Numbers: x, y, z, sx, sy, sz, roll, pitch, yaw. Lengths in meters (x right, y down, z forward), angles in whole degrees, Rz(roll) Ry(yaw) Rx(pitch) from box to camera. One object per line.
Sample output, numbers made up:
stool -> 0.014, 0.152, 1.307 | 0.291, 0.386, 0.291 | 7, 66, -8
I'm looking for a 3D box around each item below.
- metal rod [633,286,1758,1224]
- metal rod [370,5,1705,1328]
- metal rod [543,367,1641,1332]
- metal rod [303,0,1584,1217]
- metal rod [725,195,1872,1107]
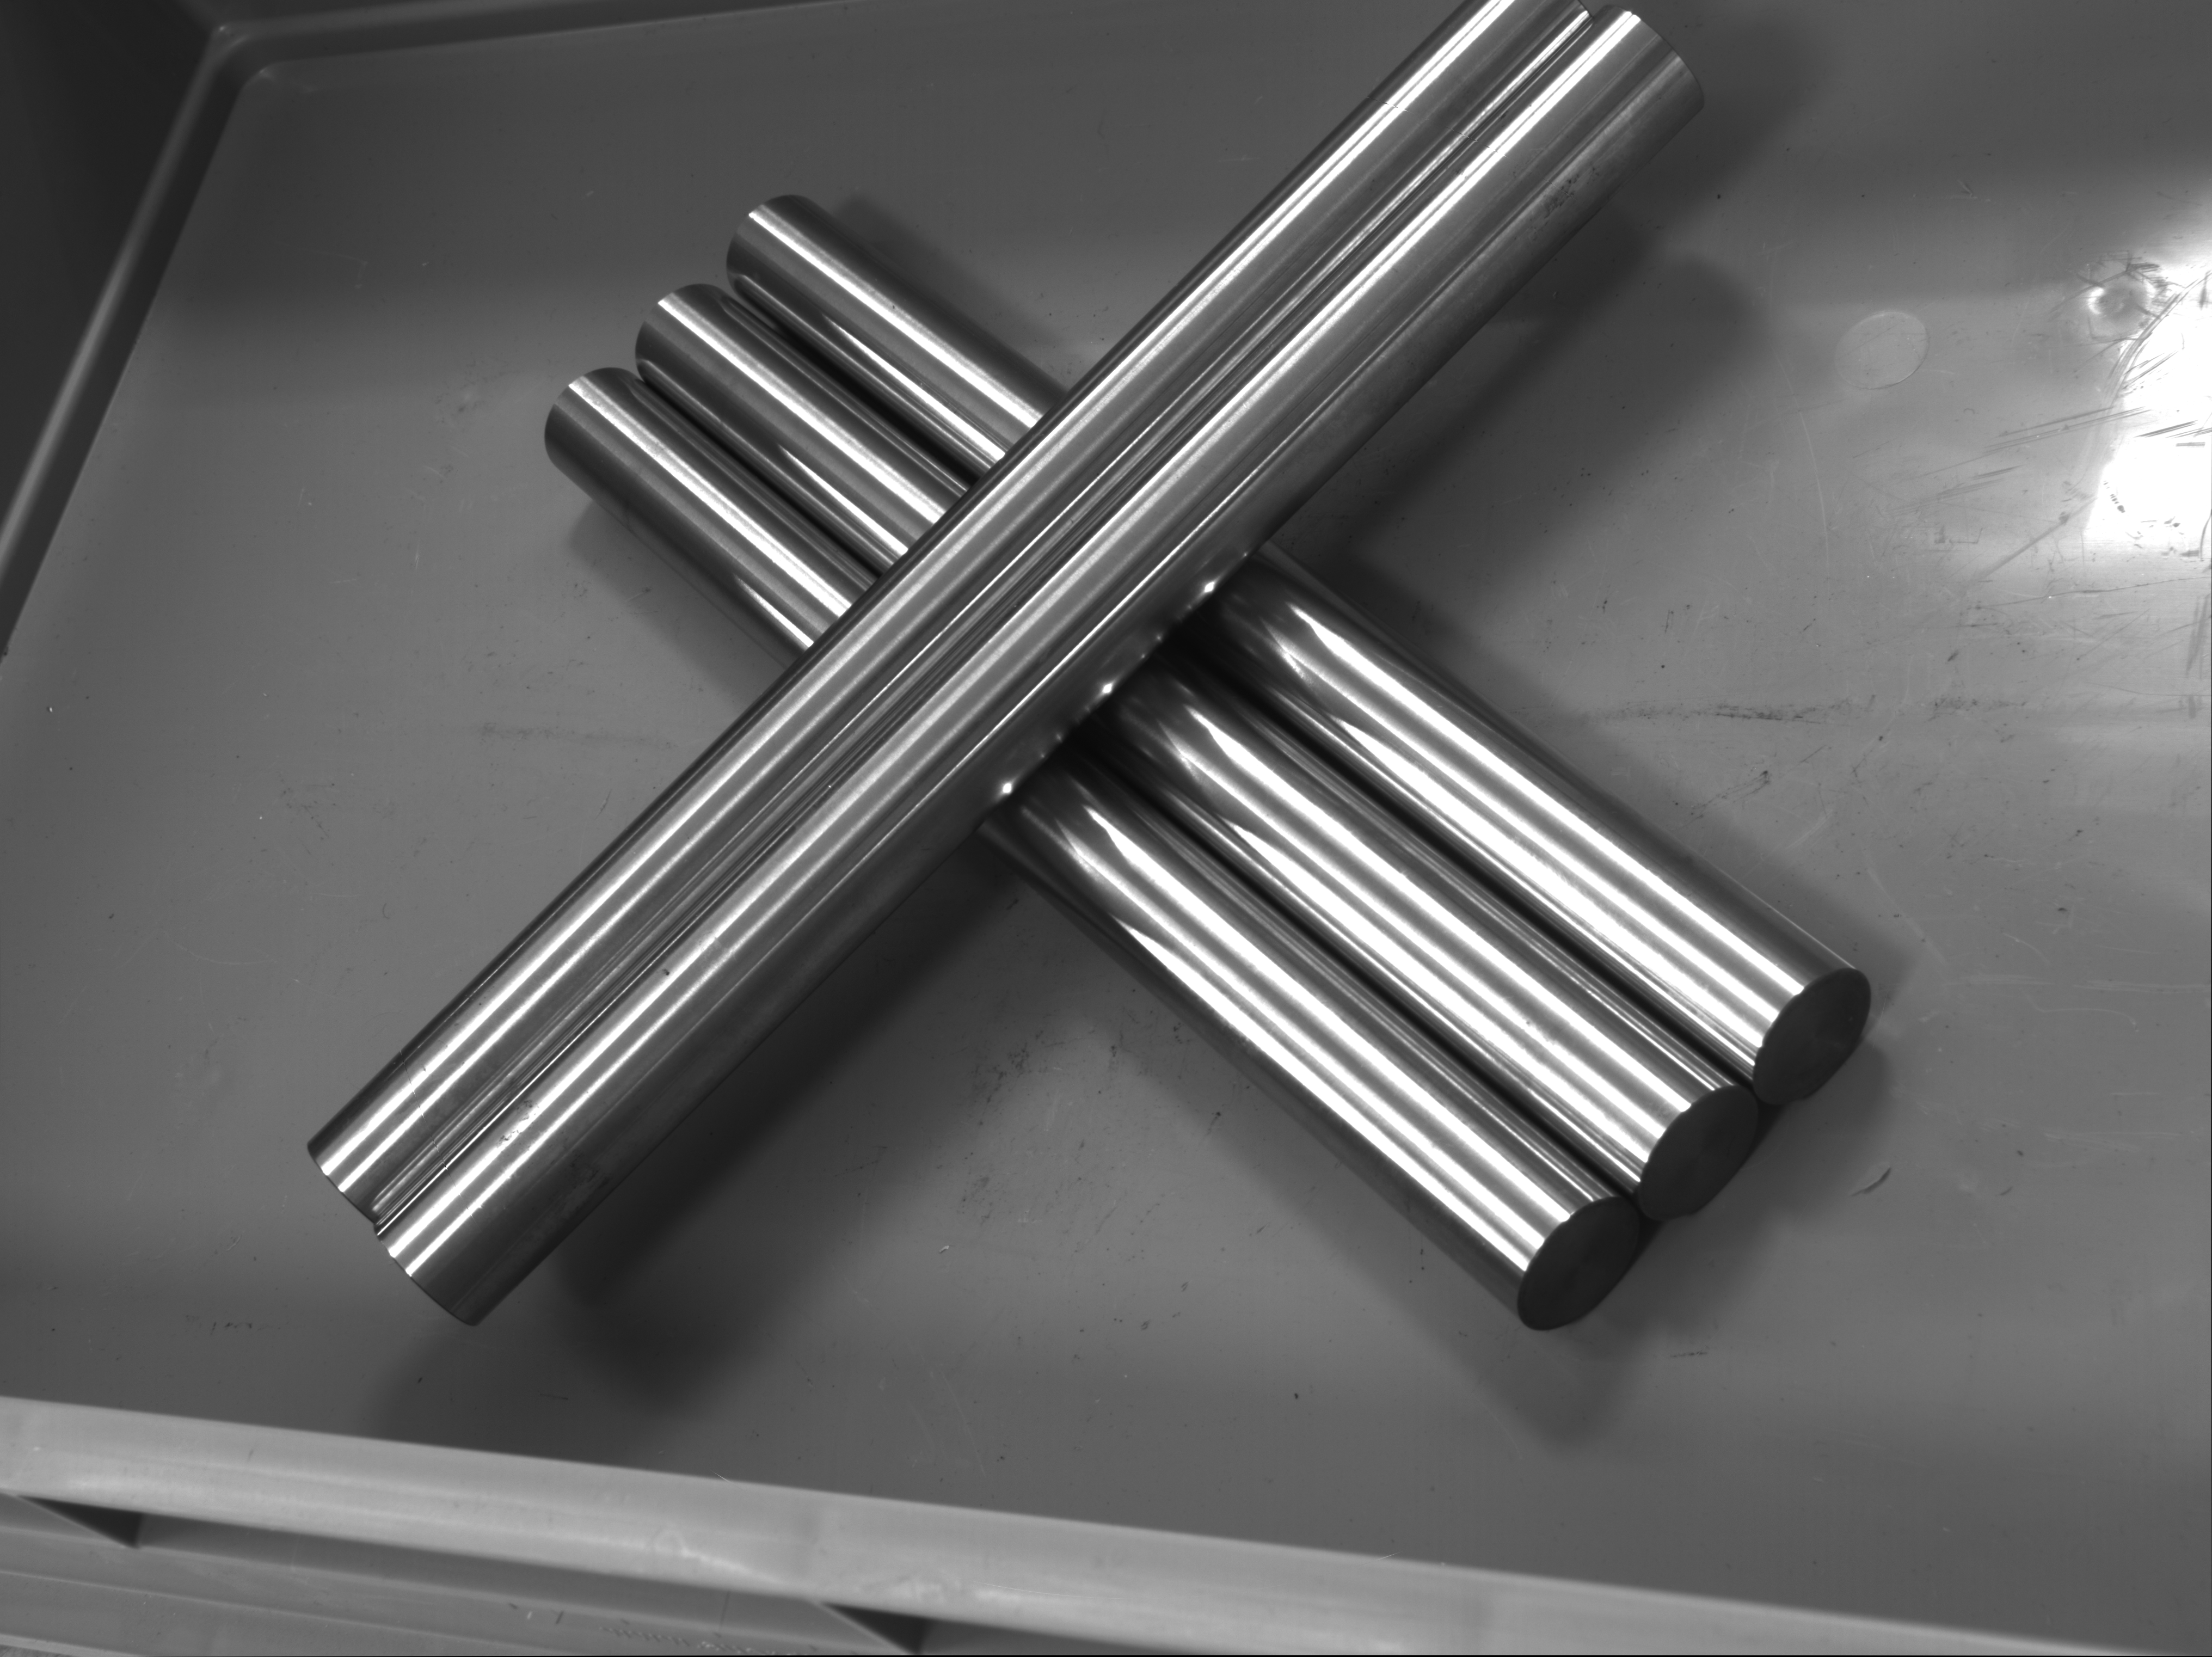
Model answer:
metal rod -> 0.002, -0.025, 0.657 | 0.025, 0.025, 0.299 | -46, 51, -4
metal rod -> -0.010, -0.029, 0.635 | 0.300, 0.025, 0.025 | -45, 51, -3
metal rod -> -0.016, -0.008, 0.657 | 0.025, 0.025, 0.299 | -46, 51, -4
metal rod -> -0.025, -0.042, 0.651 | 0.300, 0.025, 0.025 | -45, 51, -3
metal rod -> 0.021, -0.043, 0.659 | 0.025, 0.025, 0.299 | -46, 51, -4
